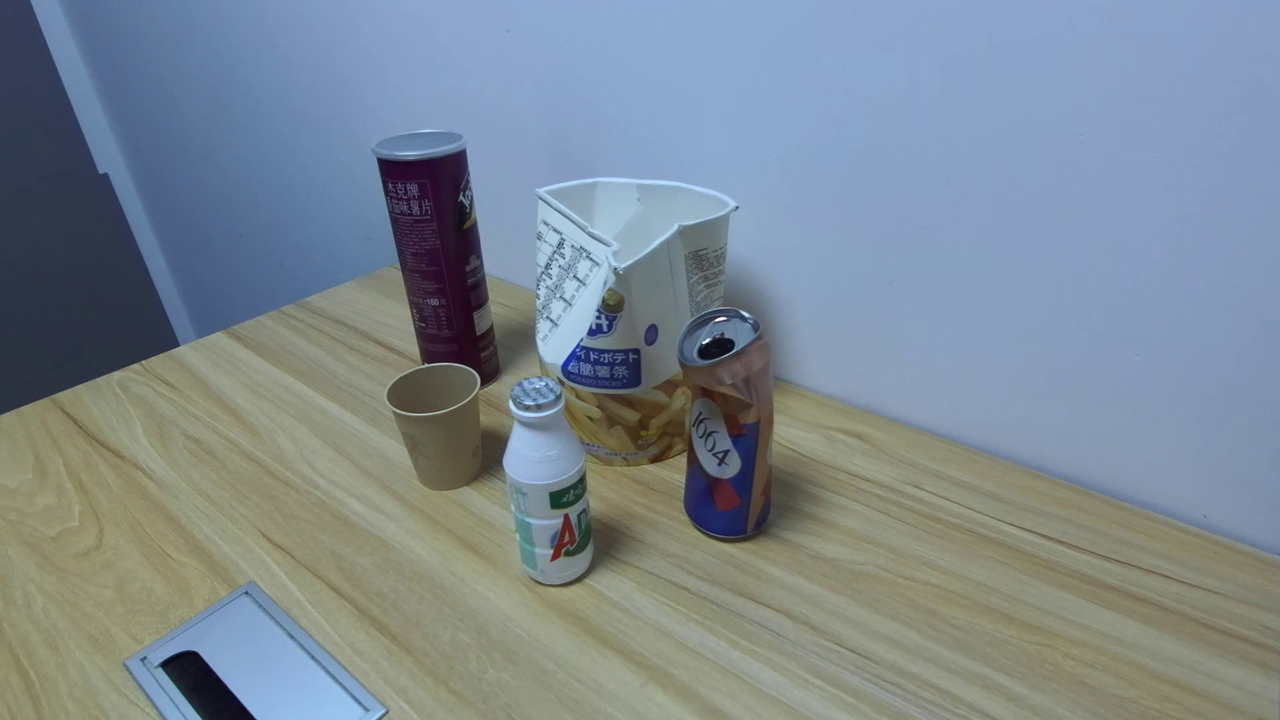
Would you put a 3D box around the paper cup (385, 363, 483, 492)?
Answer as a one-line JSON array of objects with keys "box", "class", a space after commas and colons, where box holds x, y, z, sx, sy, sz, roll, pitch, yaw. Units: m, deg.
[{"box": [-0.159, 0.057, 0.571, 0.075, 0.082, 0.075, -1, 31, 1], "class": "paper cup"}]

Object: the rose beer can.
[{"box": [0.061, 0.048, 0.494, 0.069, 0.168, 0.070, 9, 37, 20], "class": "rose beer can"}]

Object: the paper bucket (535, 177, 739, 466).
[{"box": [-0.021, -0.035, 0.604, 0.162, 0.202, 0.169, 19, 35, 33], "class": "paper bucket"}]

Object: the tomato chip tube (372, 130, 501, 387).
[{"box": [-0.185, -0.085, 0.664, 0.078, 0.234, 0.078, -1, 31, 1], "class": "tomato chip tube"}]

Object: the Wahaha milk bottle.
[{"box": [-0.061, 0.081, 0.467, 0.053, 0.147, 0.053, -2, 32, 1], "class": "Wahaha milk bottle"}]
